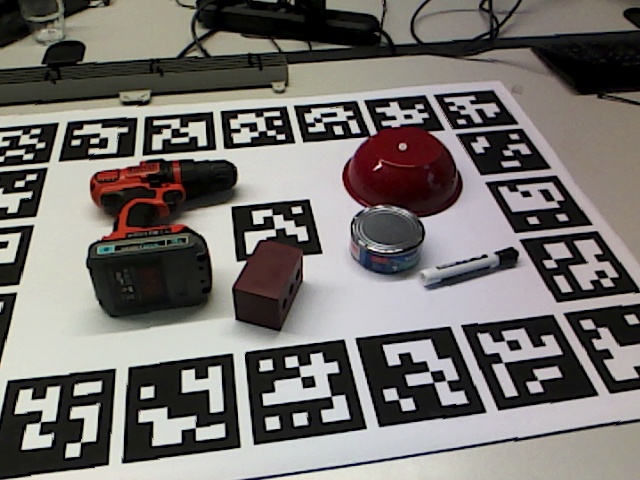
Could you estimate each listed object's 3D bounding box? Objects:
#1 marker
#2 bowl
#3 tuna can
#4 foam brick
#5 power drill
[{"bbox_3d":[0.174,0.028,0.702,0.121,0.019,0.020,-13,47,-15],"label":"marker"},{"bbox_3d":[0.106,-0.096,0.824,0.162,0.055,0.162,-3,37,2],"label":"bowl"},{"bbox_3d":[0.081,-0.003,0.724,0.086,0.033,0.086,2,43,-2],"label":"tuna can"},{"bbox_3d":[-0.050,0.053,0.658,0.051,0.052,0.078,11,45,8],"label":"foam brick"},{"bbox_3d":[-0.183,-0.015,0.720,0.184,0.057,0.188,-5,41,-11],"label":"power drill"}]
